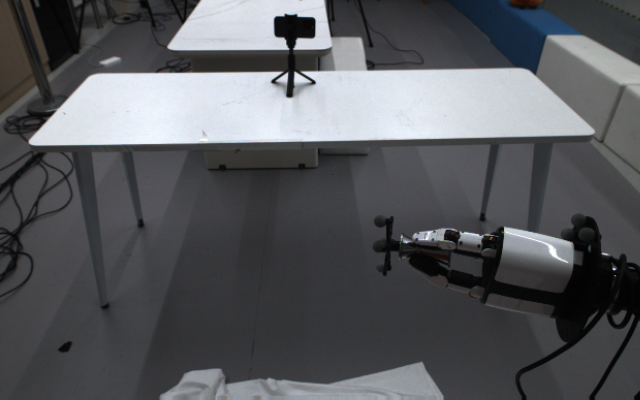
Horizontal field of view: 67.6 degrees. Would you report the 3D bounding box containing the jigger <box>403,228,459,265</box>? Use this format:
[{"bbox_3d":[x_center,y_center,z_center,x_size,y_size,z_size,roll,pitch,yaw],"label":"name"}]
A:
[{"bbox_3d":[0.152,0.062,0.666,0.071,0.043,0.043,3,34,15],"label":"jigger"}]
